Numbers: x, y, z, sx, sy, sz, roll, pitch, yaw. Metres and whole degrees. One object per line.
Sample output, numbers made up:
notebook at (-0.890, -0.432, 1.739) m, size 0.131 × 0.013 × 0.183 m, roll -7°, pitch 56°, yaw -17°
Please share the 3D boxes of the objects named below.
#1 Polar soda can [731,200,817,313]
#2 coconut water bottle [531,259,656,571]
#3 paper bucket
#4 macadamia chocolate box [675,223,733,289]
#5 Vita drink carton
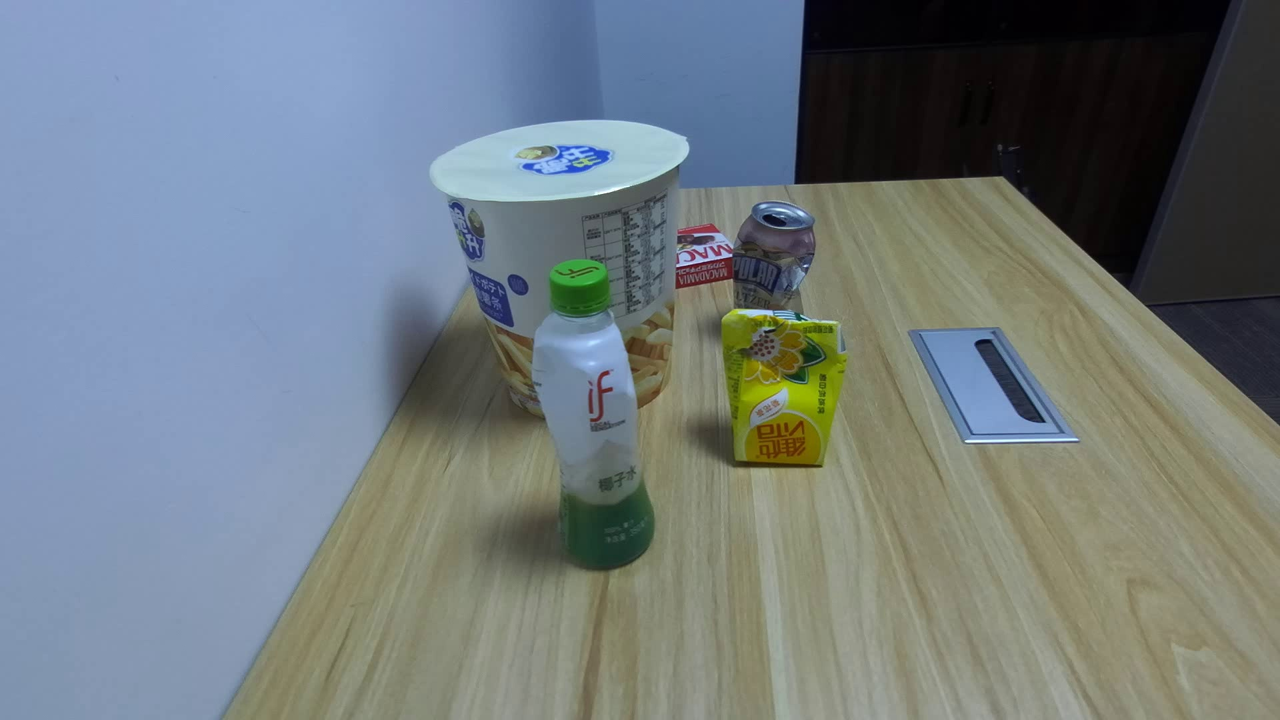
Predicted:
Polar soda can at (0.122, -0.072, 0.623) m, size 0.067 × 0.122 × 0.070 m, roll -22°, pitch 38°, yaw -36°
coconut water bottle at (-0.026, 0.035, 0.409) m, size 0.069 × 0.186 × 0.069 m, roll -3°, pitch 34°, yaw 2°
paper bucket at (-0.051, -0.070, 0.569) m, size 0.198 × 0.195 × 0.198 m, roll -3°, pitch 33°, yaw 2°
macadamia chocolate box at (0.011, -0.107, 0.774) m, size 0.183 × 0.028 × 0.105 m, roll -11°, pitch 34°, yaw -13°
Vita drink carton at (0.099, 0.016, 0.500) m, size 0.087 × 0.108 × 0.042 m, roll 3°, pitch 20°, yaw 3°
